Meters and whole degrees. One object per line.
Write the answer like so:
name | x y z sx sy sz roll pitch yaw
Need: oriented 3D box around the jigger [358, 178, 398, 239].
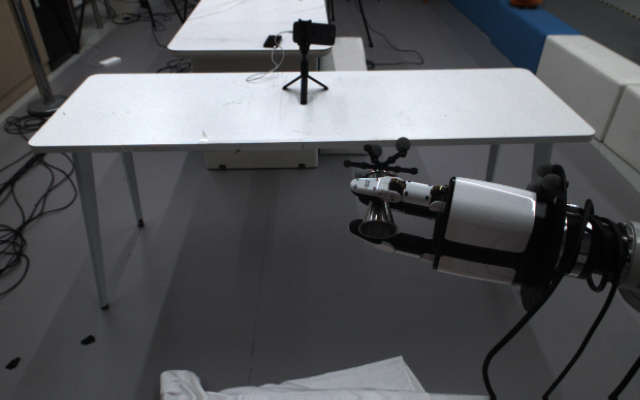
jigger | 0.065 0.003 0.558 0.043 0.043 0.071 5 60 5
